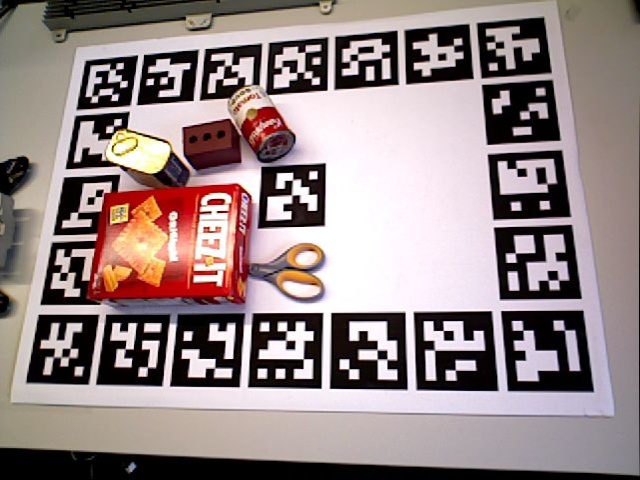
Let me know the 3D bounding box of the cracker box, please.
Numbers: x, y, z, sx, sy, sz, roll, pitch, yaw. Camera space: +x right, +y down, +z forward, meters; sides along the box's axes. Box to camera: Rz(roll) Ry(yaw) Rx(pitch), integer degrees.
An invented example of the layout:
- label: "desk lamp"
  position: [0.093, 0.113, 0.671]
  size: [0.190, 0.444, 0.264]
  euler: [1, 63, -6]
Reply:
- label: "cracker box"
  position: [-0.207, 0.021, 0.761]
  size: [0.214, 0.072, 0.163]
  euler: [-9, 72, 12]

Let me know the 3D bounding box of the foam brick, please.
- label: "foam brick"
  position: [-0.162, -0.138, 0.826]
  size: [0.078, 0.051, 0.052]
  euler: [-13, 72, 6]

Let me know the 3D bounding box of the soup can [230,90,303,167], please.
- label: "soup can"
  position: [-0.081, -0.169, 0.819]
  size: [0.068, 0.068, 0.102]
  euler: [-38, 66, -3]

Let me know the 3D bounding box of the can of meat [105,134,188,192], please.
- label: "can of meat"
  position: [-0.258, -0.108, 0.815]
  size: [0.102, 0.084, 0.057]
  euler: [11, 75, 12]

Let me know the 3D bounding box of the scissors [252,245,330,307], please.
- label: "scissors"
  position: [-0.089, 0.058, 0.762]
  size: [0.203, 0.016, 0.087]
  euler: [-8, 74, 8]
